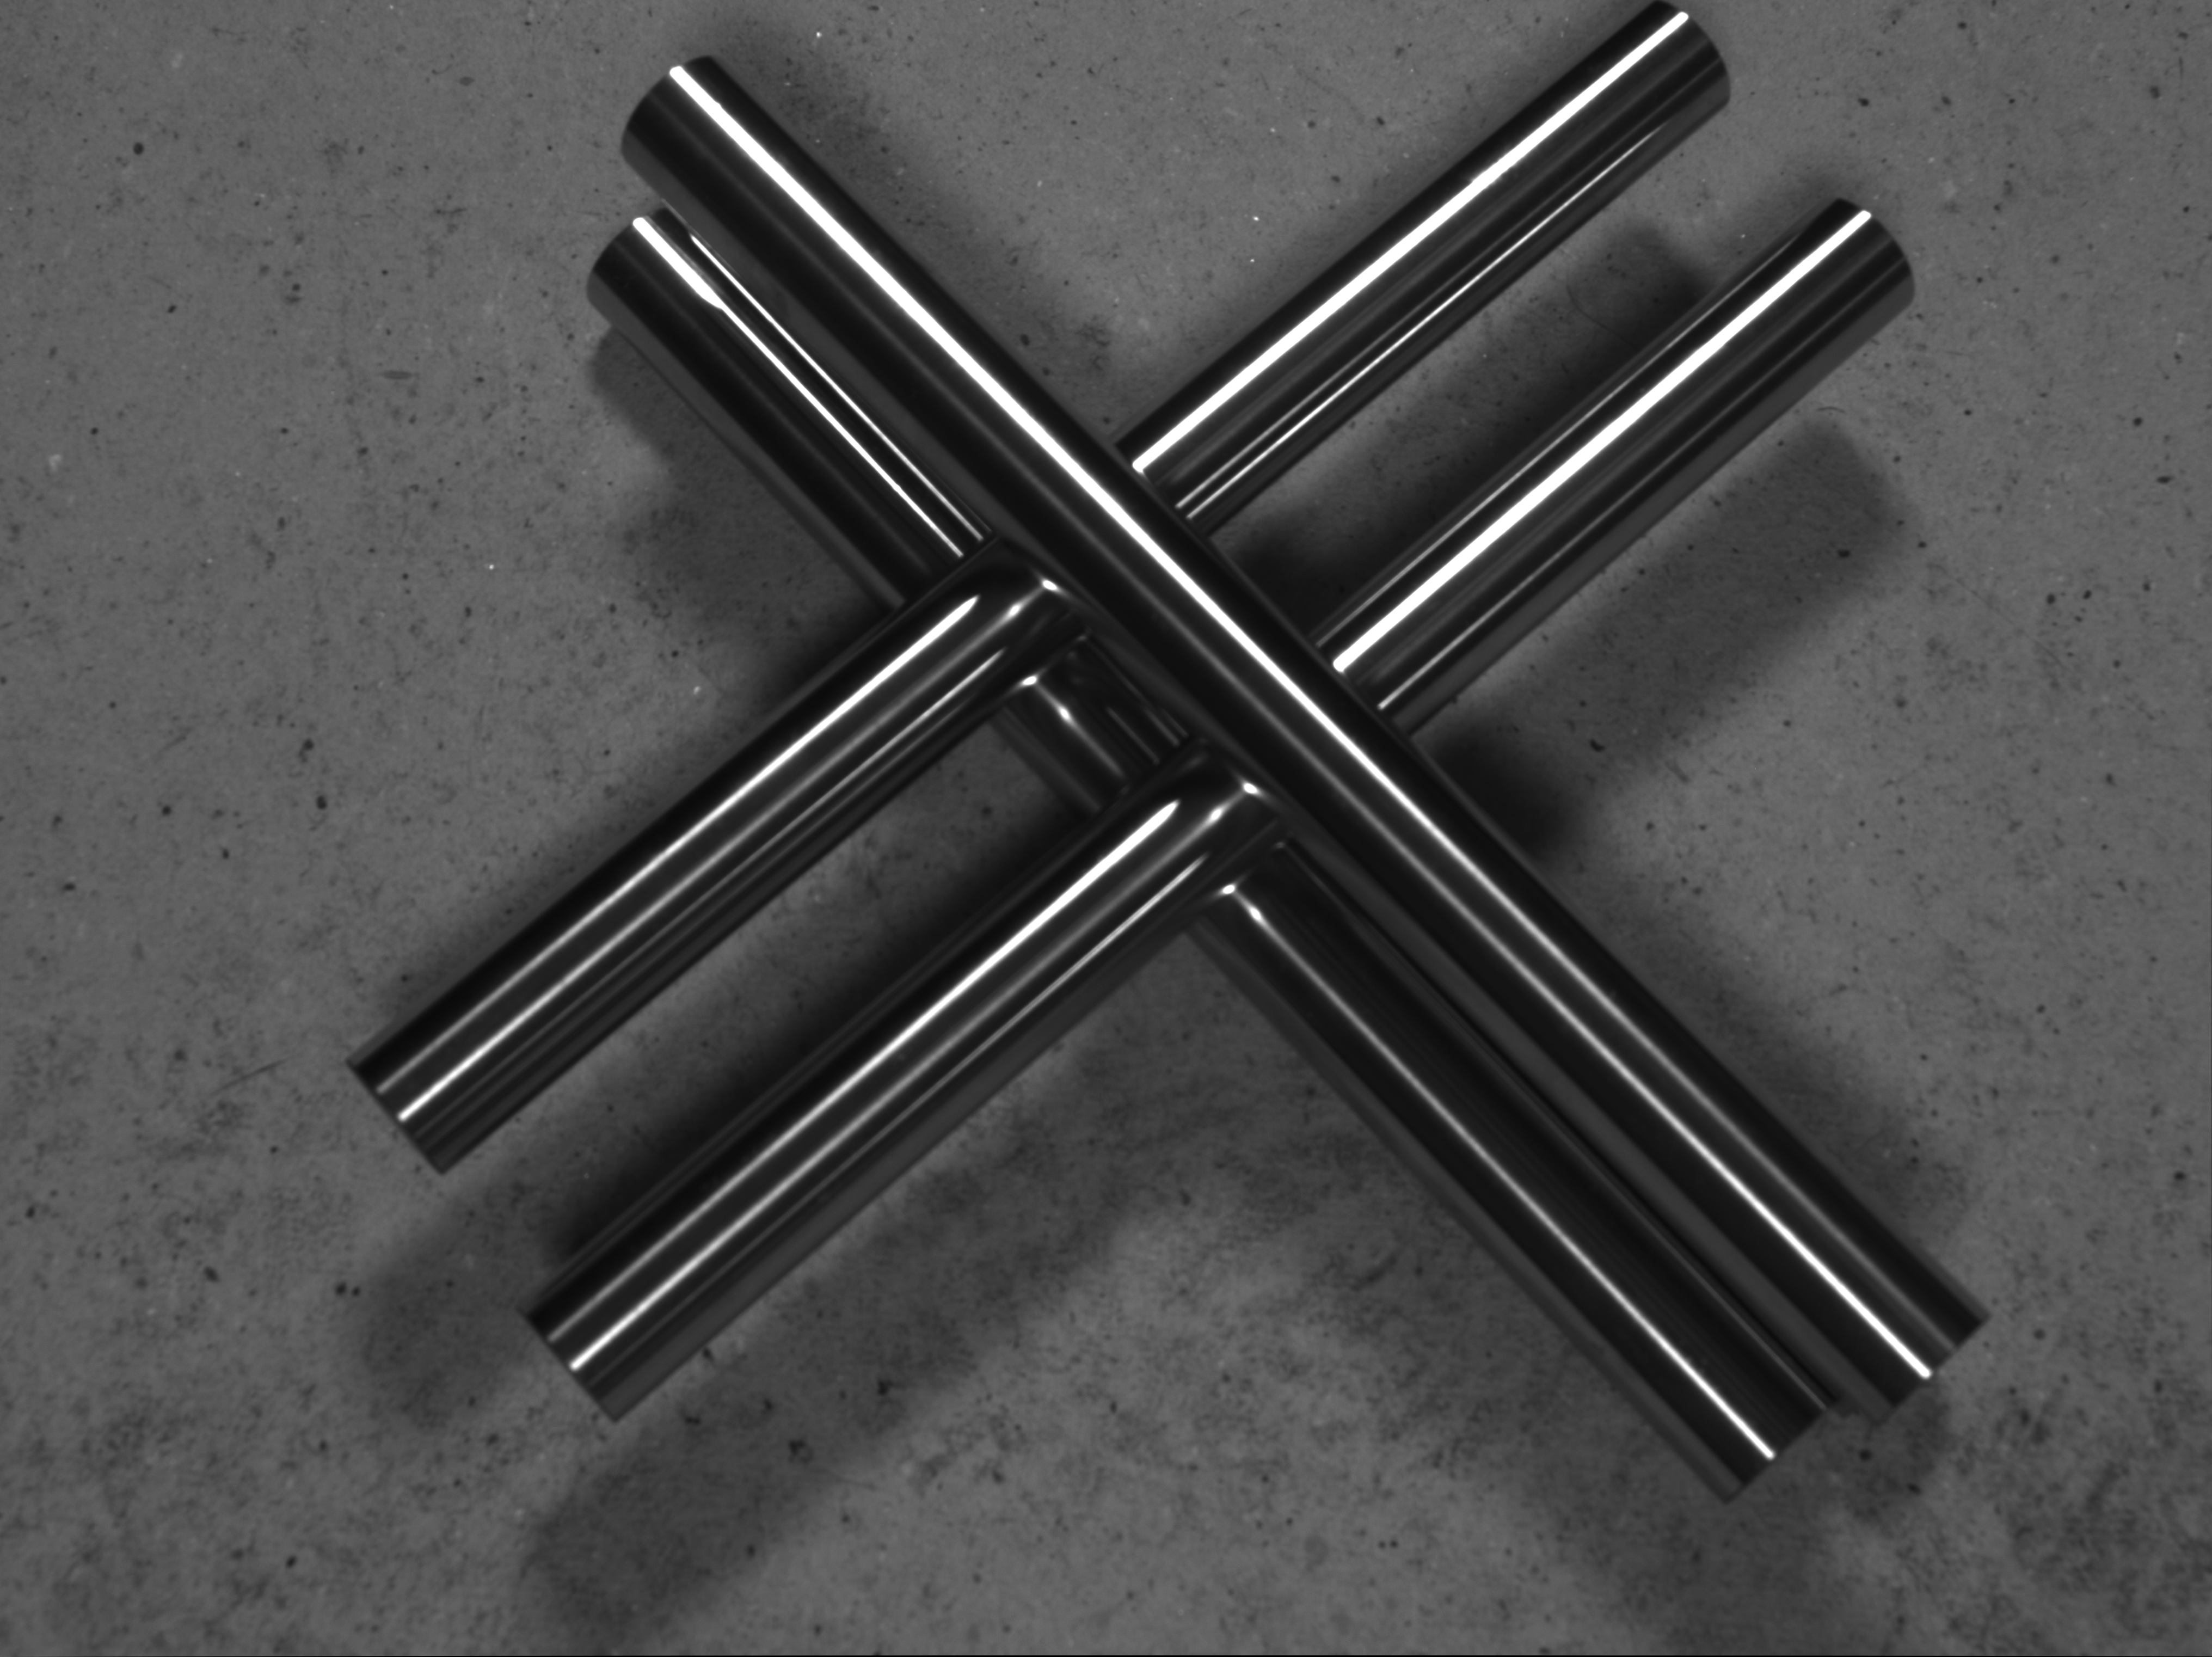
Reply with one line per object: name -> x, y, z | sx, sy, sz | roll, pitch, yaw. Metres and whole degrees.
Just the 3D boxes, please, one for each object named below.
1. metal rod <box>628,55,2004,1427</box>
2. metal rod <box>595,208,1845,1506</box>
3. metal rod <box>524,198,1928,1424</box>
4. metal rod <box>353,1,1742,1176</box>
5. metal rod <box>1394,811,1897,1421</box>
metal rod -> 0.028, -0.021, 0.599 | 0.025, 0.025, 0.300 | -41, 75, -13
metal rod -> 0.014, -0.001, 0.645 | 0.025, 0.025, 0.300 | -40, 75, -13
metal rod -> 0.026, -0.008, 0.621 | 0.300, 0.025, 0.025 | -40, 75, -13
metal rod -> -0.004, -0.047, 0.635 | 0.300, 0.025, 0.025 | -40, 75, -13
metal rod -> 0.035, -0.015, 0.650 | 0.025, 0.025, 0.300 | -40, 75, -13
